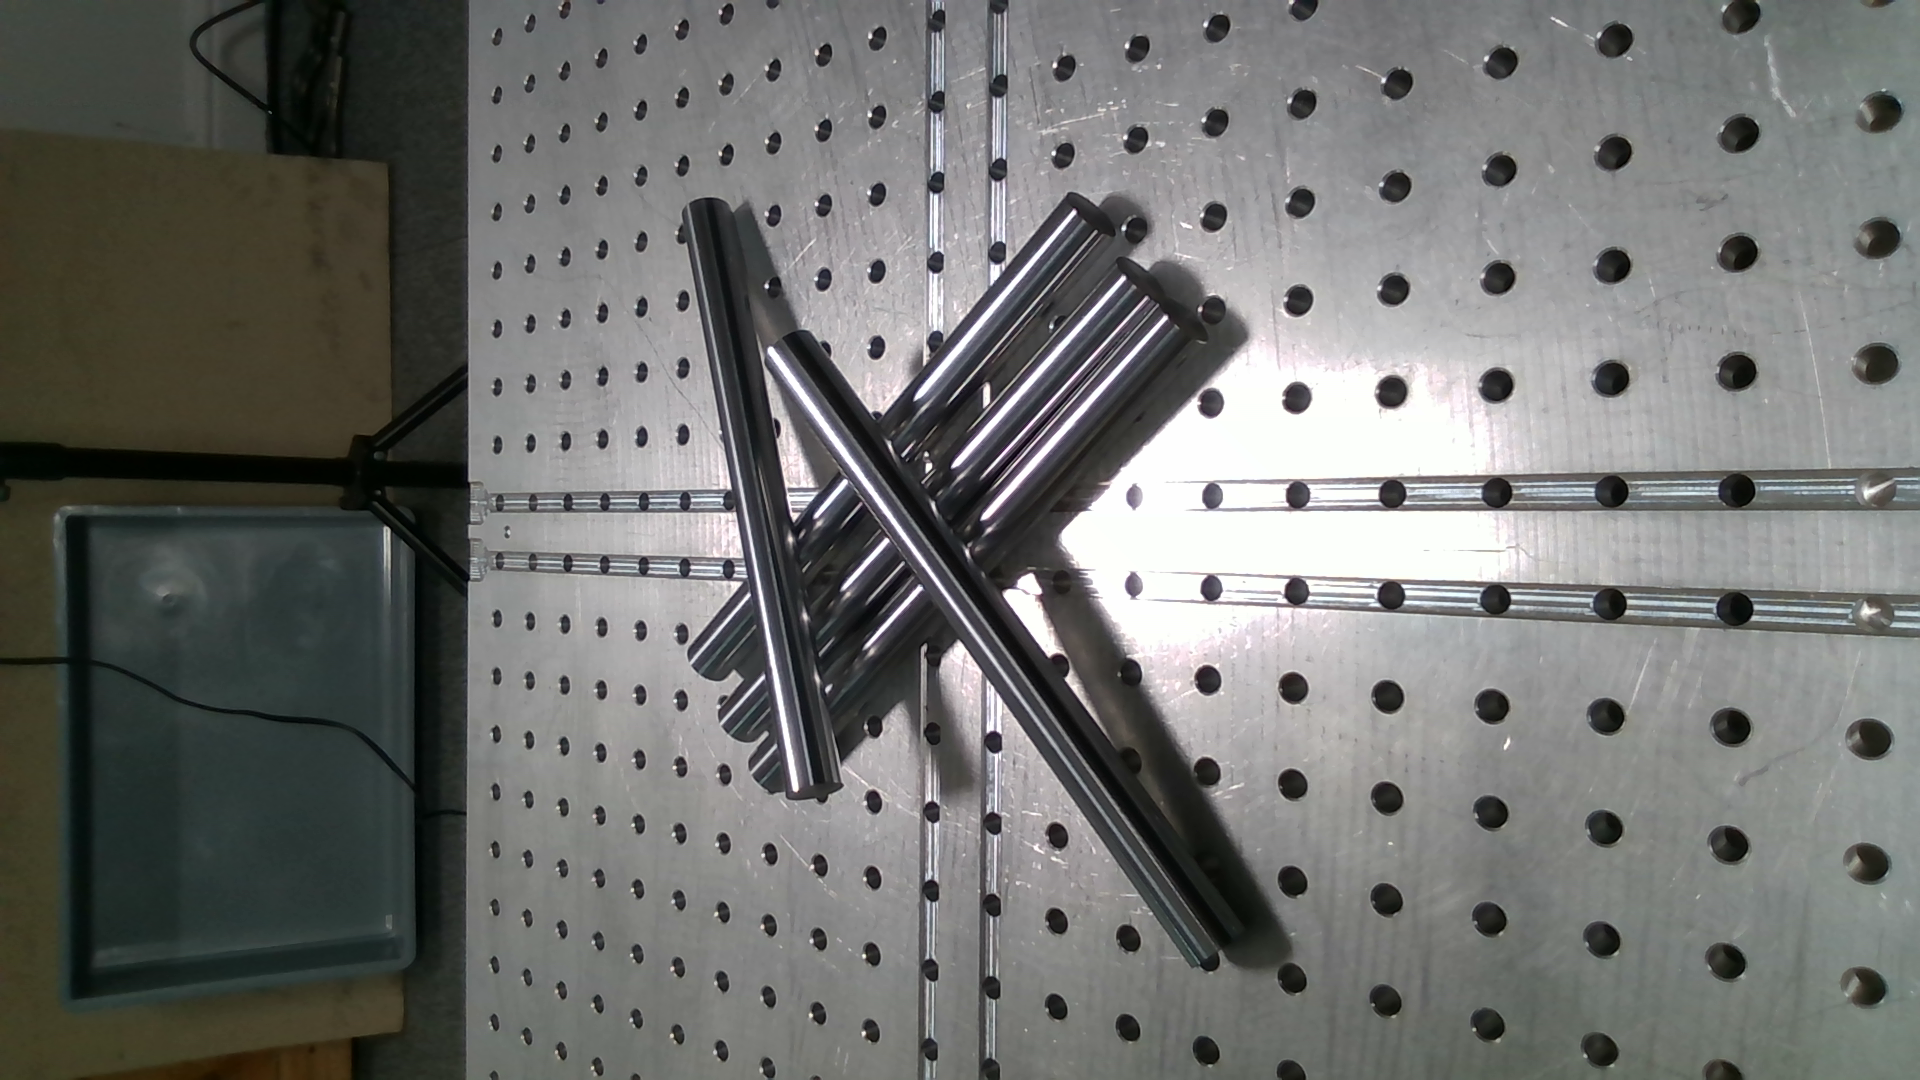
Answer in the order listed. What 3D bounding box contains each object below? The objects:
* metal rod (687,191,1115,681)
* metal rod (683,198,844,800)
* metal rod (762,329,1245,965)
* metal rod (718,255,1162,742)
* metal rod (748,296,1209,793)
[{"bbox_3d":[-0.037,-0.034,0.616,0.301,0.025,0.025,-47,62,30],"label":"metal rod"},{"bbox_3d":[-0.094,-0.029,0.637,0.025,0.025,0.299,-30,63,36],"label":"metal rod"},{"bbox_3d":[0.010,0.034,0.550,0.025,0.025,0.299,-46,70,30],"label":"metal rod"},{"bbox_3d":[-0.020,-0.005,0.601,0.301,0.025,0.025,-47,62,30],"label":"metal rod"},{"bbox_3d":[-0.004,0.014,0.588,0.301,0.025,0.025,-48,62,30],"label":"metal rod"}]
